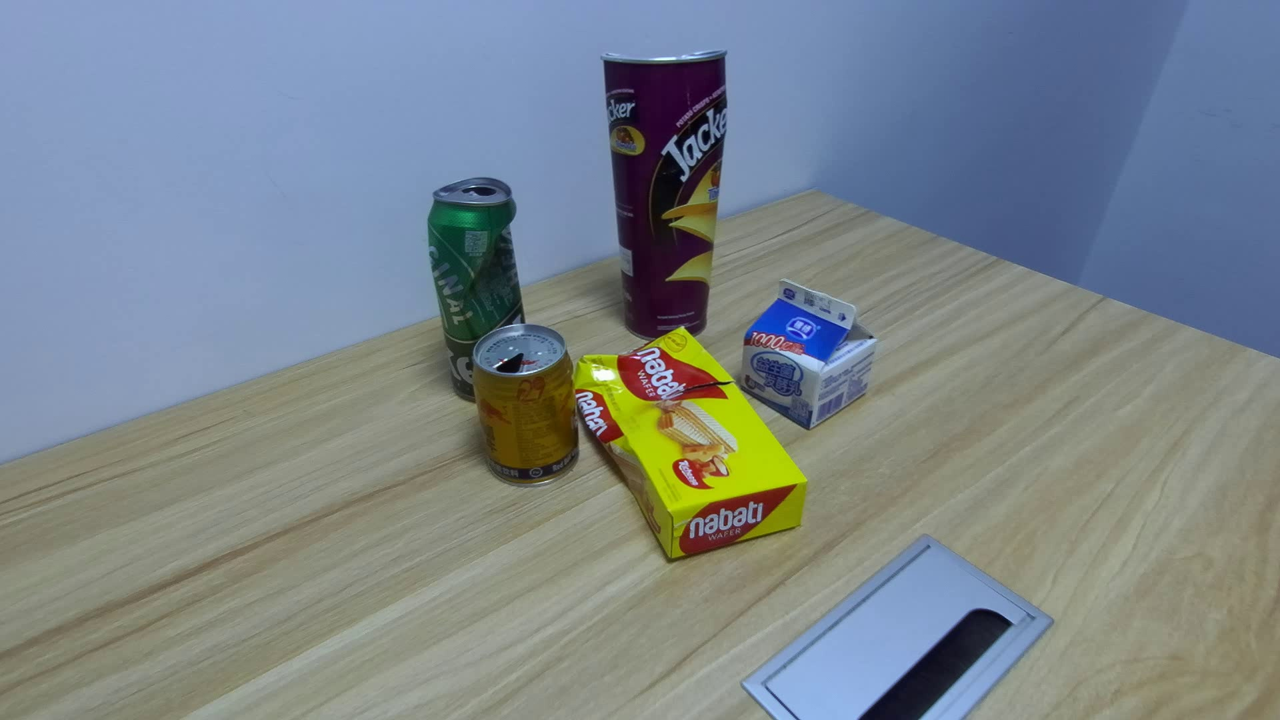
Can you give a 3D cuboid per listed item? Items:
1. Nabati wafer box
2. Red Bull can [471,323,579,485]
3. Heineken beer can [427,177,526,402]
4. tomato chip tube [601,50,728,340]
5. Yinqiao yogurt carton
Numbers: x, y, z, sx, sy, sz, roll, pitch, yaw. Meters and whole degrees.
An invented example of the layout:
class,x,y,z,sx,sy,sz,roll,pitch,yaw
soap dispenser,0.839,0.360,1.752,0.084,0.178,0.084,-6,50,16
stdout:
class,x,y,z,sx,sy,sz,roll,pitch,yaw
Nabati wafer box,0.022,0.046,0.502,0.107,0.042,0.203,-11,34,-16
Red Bull can,-0.077,0.030,0.481,0.067,0.093,0.067,0,34,1
Heineken beer can,-0.121,-0.050,0.539,0.078,0.164,0.065,-19,38,-29
tomato chip tube,0.023,-0.133,0.592,0.077,0.235,0.076,21,39,30
Yinqiao yogurt carton,0.128,-0.013,0.538,0.074,0.092,0.075,-26,40,-33
